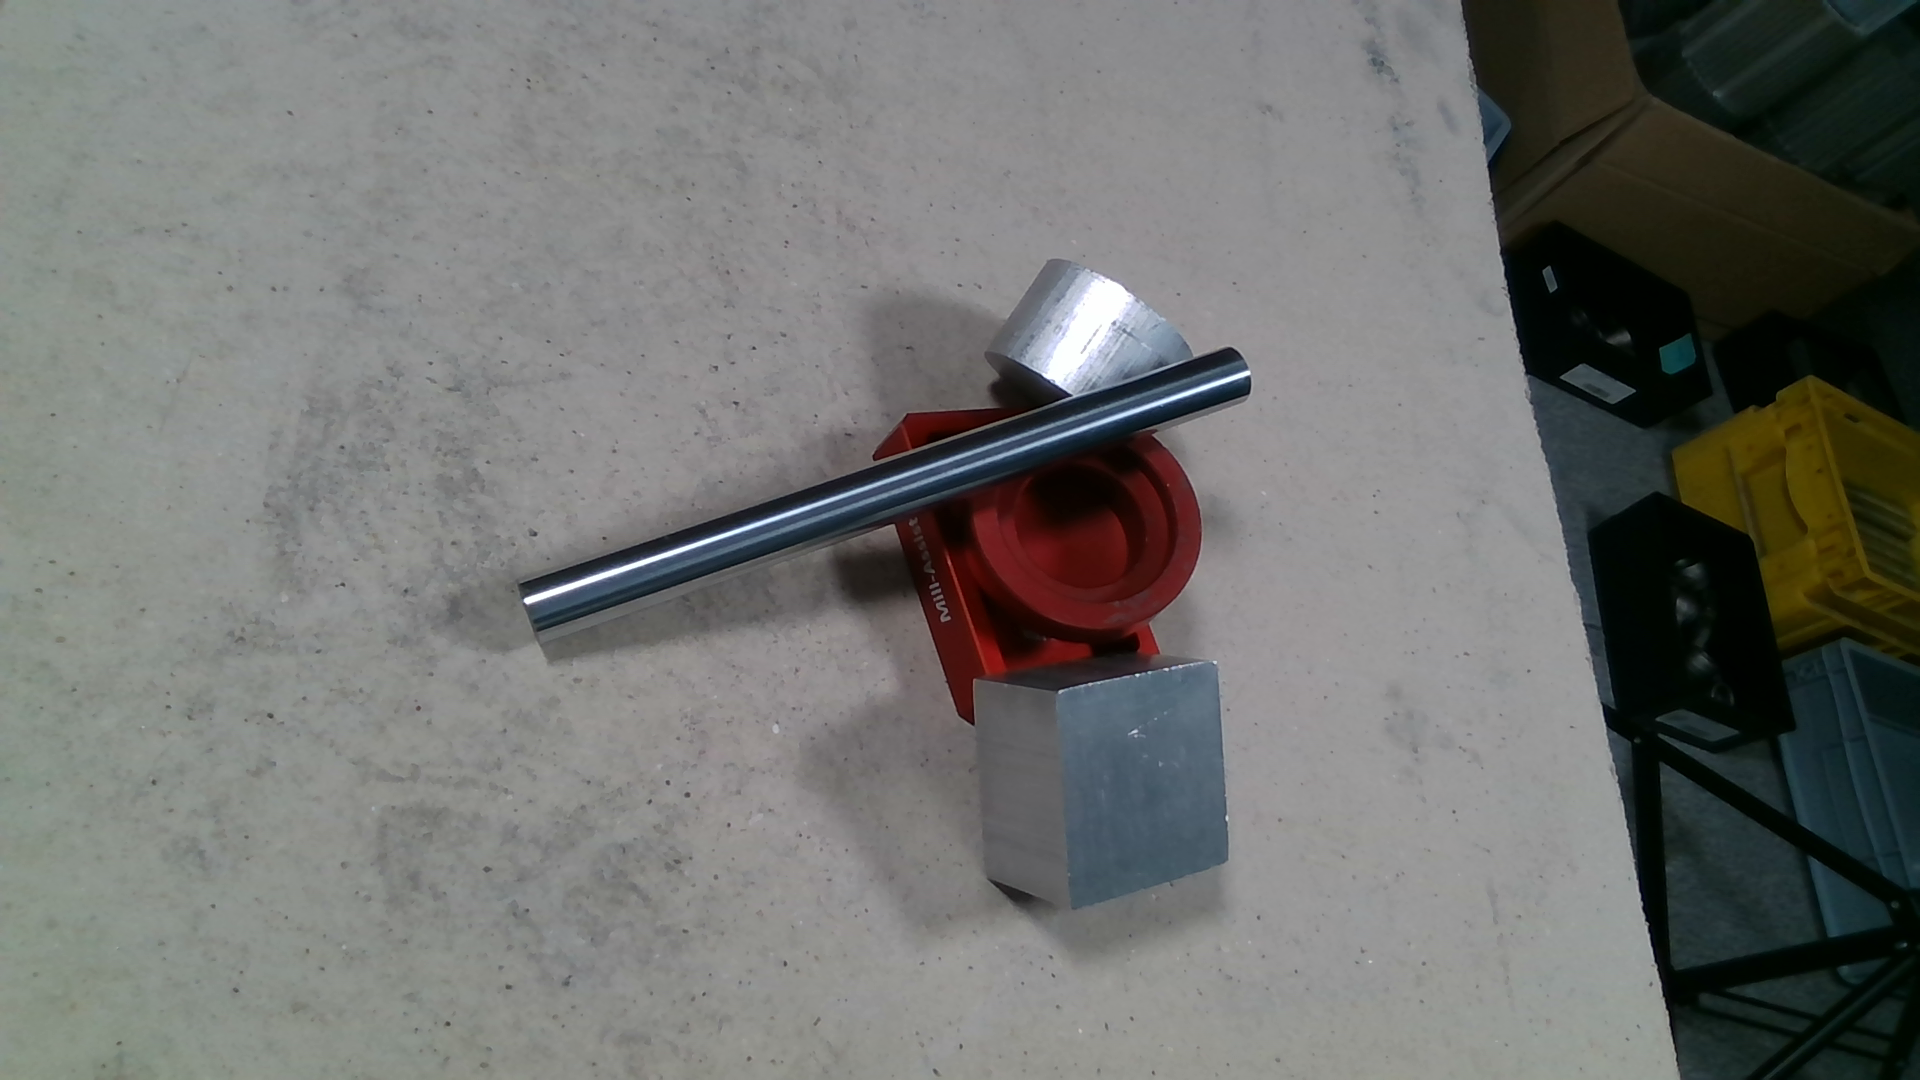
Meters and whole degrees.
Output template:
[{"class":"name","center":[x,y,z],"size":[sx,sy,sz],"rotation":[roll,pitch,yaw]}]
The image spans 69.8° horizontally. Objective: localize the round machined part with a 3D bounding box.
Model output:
[{"class":"round machined part","center":[0.048,-0.003,0.576],"size":[0.098,0.042,0.098],"rotation":[6,66,-12]}]

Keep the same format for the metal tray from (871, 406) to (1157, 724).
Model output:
[{"class":"metal tray","center":[0.024,0.007,0.594],"size":[0.090,0.030,0.130],"rotation":[-7,69,-34]}]

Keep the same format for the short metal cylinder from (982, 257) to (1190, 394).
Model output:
[{"class":"short metal cylinder","center":[0.057,-0.083,0.622],"size":[0.080,0.080,0.050],"rotation":[35,88,-11]}]

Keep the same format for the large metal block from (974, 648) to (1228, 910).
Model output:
[{"class":"large metal block","center":[0.055,0.089,0.535],"size":[0.080,0.050,0.080],"rotation":[-7,95,-34]}]

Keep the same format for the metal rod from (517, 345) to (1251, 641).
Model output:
[{"class":"metal rod","center":[-0.018,-0.024,0.532],"size":[0.300,0.025,0.025],"rotation":[-19,76,-20]}]
